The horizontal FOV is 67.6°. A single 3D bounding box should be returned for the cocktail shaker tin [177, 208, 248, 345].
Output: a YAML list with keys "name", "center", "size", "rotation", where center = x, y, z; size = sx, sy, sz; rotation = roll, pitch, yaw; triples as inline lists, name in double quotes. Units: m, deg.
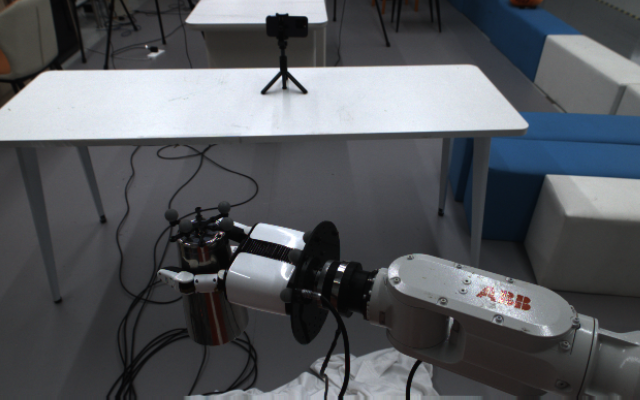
- name: "cocktail shaker tin"
  center: [-0.152, 0.111, 0.687]
  size: [0.093, 0.170, 0.093]
  rotation: [-1, 32, 1]
